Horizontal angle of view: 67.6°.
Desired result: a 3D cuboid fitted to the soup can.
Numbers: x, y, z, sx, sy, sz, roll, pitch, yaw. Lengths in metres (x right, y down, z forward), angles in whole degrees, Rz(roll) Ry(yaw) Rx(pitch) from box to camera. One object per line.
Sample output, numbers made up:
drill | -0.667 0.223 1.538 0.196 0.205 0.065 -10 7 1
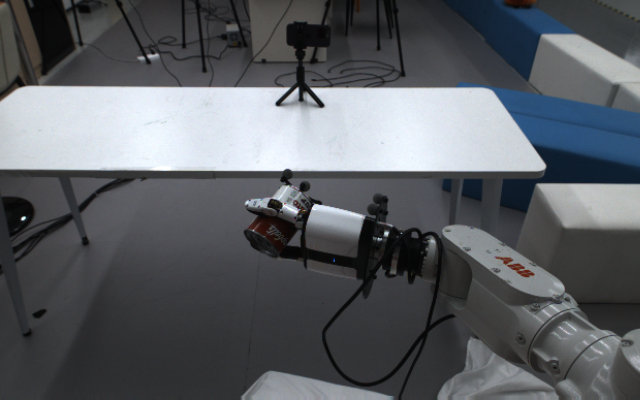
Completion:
soup can | -0.065 0.033 0.771 0.067 0.067 0.101 23 60 27
